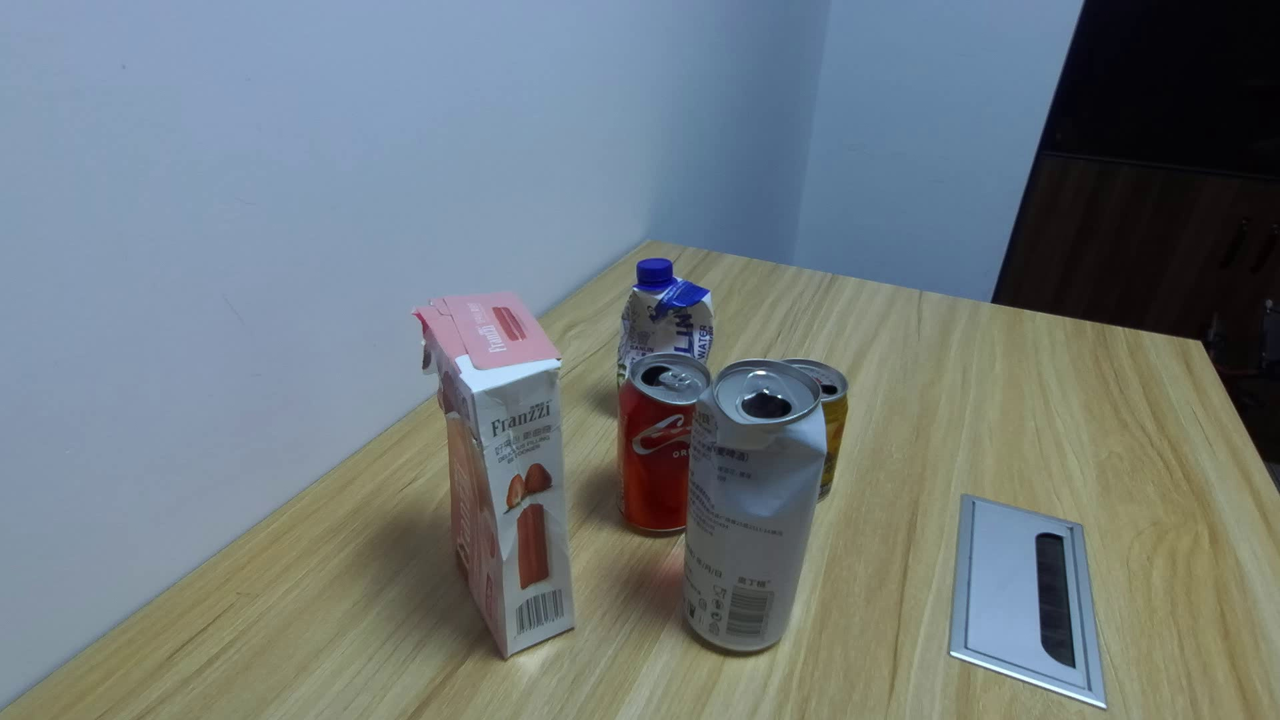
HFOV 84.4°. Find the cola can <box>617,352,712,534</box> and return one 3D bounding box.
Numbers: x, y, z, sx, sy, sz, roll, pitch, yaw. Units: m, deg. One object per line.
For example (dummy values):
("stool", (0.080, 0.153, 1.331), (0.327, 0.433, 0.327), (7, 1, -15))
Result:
("cola can", (0.019, 0.055, 0.491), (0.072, 0.117, 0.065), (-8, 30, -16))

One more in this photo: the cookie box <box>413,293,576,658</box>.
("cookie box", (-0.079, 0.067, 0.397), (0.059, 0.186, 0.104), (-12, 31, -25))

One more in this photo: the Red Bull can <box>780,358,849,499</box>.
("Red Bull can", (0.117, 0.053, 0.527), (0.067, 0.093, 0.067), (2, 30, -1))

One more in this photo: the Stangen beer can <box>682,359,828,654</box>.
("Stangen beer can", (0.060, 0.085, 0.388), (0.066, 0.166, 0.066), (0, 30, -3))

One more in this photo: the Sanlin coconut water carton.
("Sanlin coconut water carton", (0.018, -0.008, 0.576), (0.068, 0.145, 0.057), (26, 39, 27))
